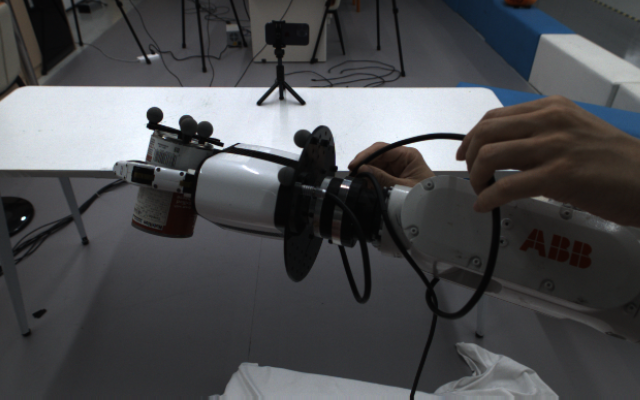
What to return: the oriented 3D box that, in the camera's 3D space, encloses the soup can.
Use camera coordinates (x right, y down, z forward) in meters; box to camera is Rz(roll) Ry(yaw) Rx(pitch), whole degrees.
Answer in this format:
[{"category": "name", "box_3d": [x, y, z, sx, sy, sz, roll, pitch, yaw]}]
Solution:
[{"category": "soup can", "box_3d": [-0.158, -0.016, 0.524, 0.067, 0.101, 0.067, 15, 7, -2]}]
